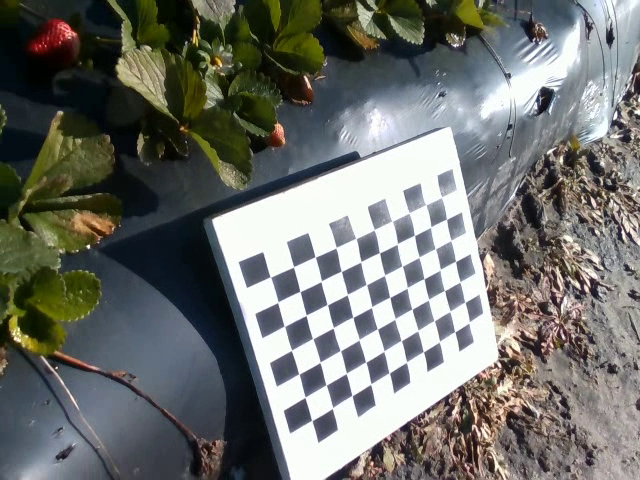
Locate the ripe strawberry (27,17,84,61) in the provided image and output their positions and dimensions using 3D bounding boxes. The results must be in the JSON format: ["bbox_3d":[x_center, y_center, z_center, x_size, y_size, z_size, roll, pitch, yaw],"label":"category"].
[{"bbox_3d":[-0.214,-0.157,0.524,0.044,0.042,0.055,-3,25,34],"label":"ripe strawberry"}]
